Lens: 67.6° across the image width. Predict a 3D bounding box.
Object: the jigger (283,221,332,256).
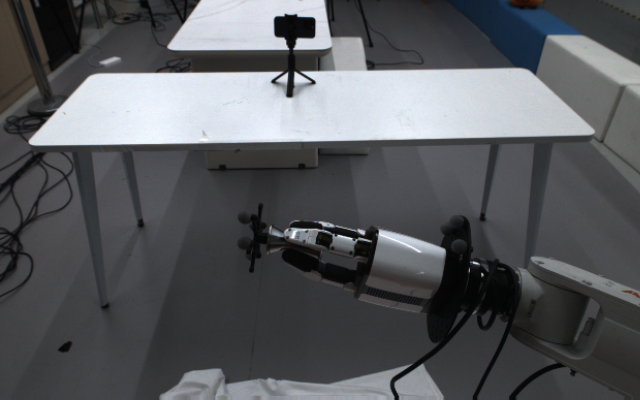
[{"bbox_3d":[-0.023,0.049,0.617,0.071,0.043,0.043,5,35,2],"label":"jigger"}]
